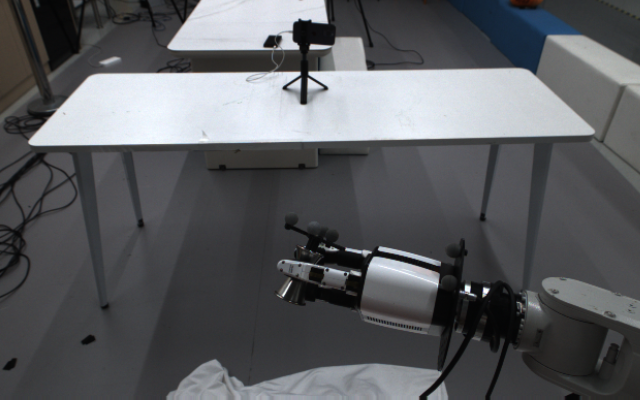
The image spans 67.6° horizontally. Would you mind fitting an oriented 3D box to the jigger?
[{"bbox_3d":[-0.026,0.093,0.613,0.043,0.071,0.043,24,-3,1],"label":"jigger"}]
